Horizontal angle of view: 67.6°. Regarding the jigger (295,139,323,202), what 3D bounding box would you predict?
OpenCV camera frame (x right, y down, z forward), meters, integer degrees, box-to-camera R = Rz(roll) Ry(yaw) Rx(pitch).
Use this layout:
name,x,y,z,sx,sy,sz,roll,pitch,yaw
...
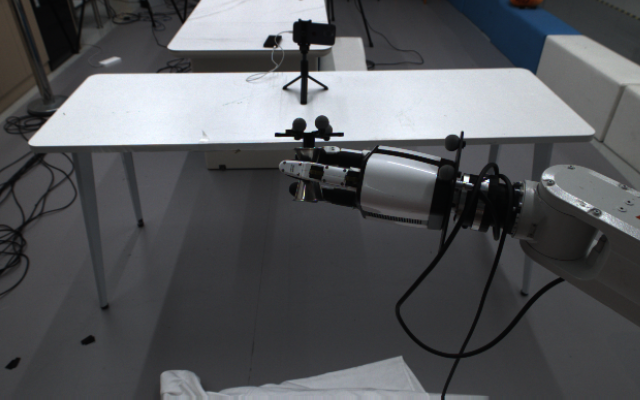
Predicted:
name,x,y,z,sx,sy,sz,roll,pitch,yaw
jigger,-0.014,-0.033,0.629,0.043,0.071,0.043,-1,2,0
